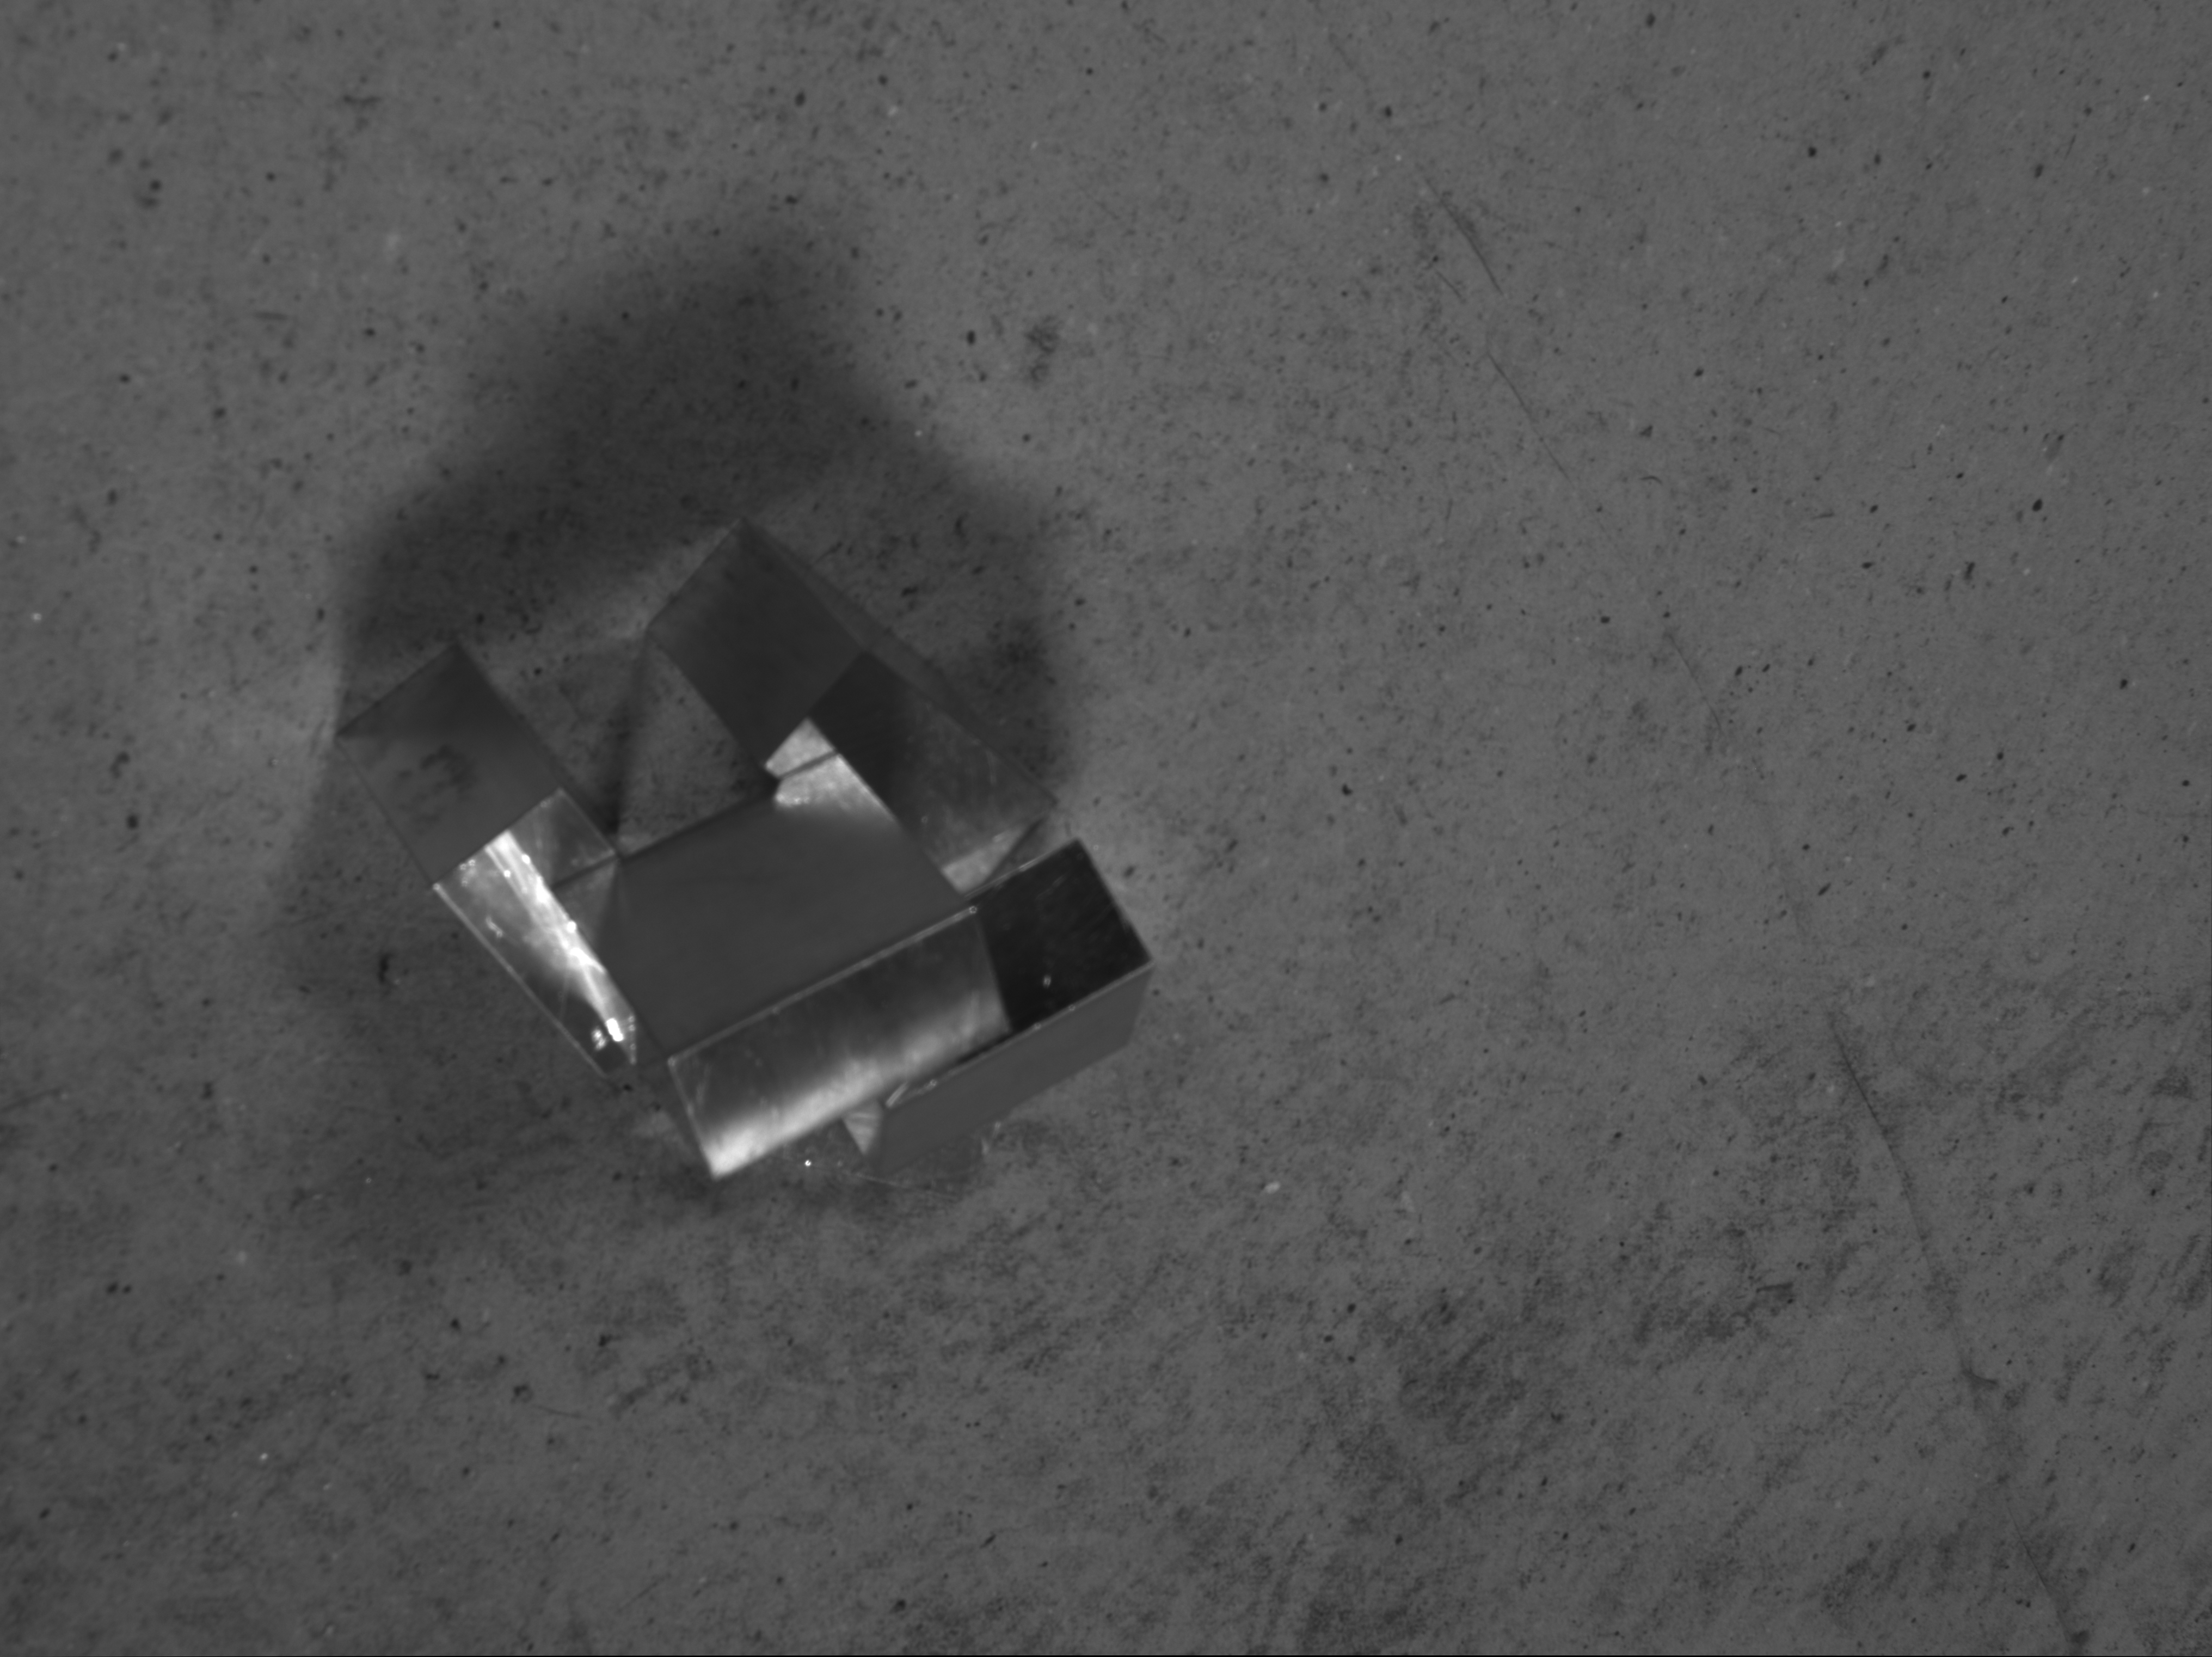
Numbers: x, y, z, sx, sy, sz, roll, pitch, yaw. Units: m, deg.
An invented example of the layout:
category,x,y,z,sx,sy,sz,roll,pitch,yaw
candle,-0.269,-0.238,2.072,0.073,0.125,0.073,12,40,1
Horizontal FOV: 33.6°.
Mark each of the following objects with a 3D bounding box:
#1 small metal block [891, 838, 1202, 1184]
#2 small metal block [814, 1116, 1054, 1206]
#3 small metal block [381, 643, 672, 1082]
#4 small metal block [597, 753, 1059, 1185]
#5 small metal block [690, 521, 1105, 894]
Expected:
category,x,y,z,sx,sy,sz,roll,pitch,yaw
small metal block,-0.014,0.031,0.613,0.050,0.025,0.050,-28,166,-13
small metal block,-0.031,0.036,0.655,0.050,0.025,0.050,18,108,-37
small metal block,-0.085,0.005,0.589,0.025,0.050,0.050,-38,130,-4
small metal block,-0.043,0.020,0.557,0.050,0.050,0.025,-26,128,-14
small metal block,-0.035,-0.018,0.604,0.025,0.050,0.050,-48,130,4
